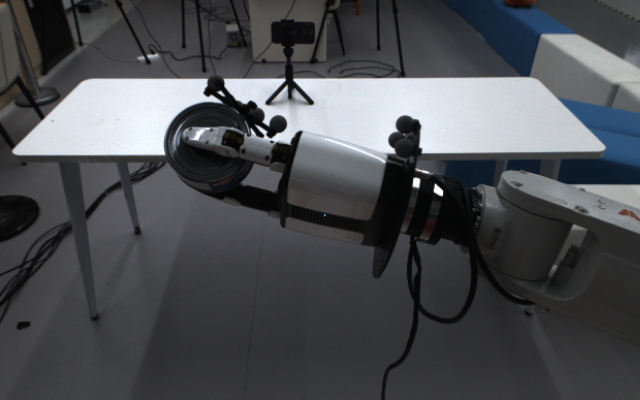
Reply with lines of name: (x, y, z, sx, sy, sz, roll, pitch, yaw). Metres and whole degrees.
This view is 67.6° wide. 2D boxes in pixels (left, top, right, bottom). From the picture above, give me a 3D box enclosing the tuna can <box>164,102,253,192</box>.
tuna can: (-0.106, -0.053, 0.480, 0.085, 0.034, 0.085, 0, 74, 0)
